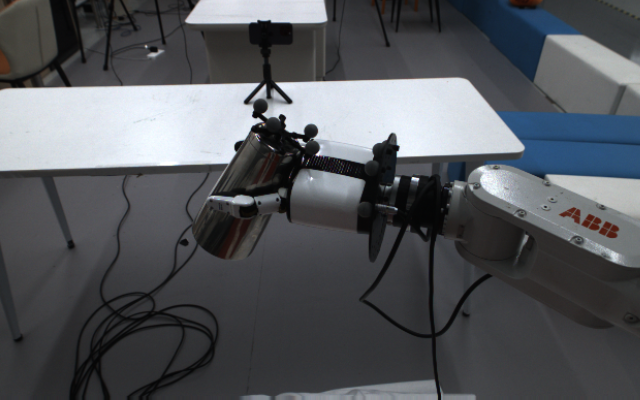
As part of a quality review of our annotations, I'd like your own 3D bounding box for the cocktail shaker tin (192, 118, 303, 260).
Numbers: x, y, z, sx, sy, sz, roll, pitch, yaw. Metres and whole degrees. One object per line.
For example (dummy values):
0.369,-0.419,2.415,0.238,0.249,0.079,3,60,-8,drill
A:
-0.090,-0.016,0.626,0.093,0.170,0.093,26,32,-17,cocktail shaker tin
